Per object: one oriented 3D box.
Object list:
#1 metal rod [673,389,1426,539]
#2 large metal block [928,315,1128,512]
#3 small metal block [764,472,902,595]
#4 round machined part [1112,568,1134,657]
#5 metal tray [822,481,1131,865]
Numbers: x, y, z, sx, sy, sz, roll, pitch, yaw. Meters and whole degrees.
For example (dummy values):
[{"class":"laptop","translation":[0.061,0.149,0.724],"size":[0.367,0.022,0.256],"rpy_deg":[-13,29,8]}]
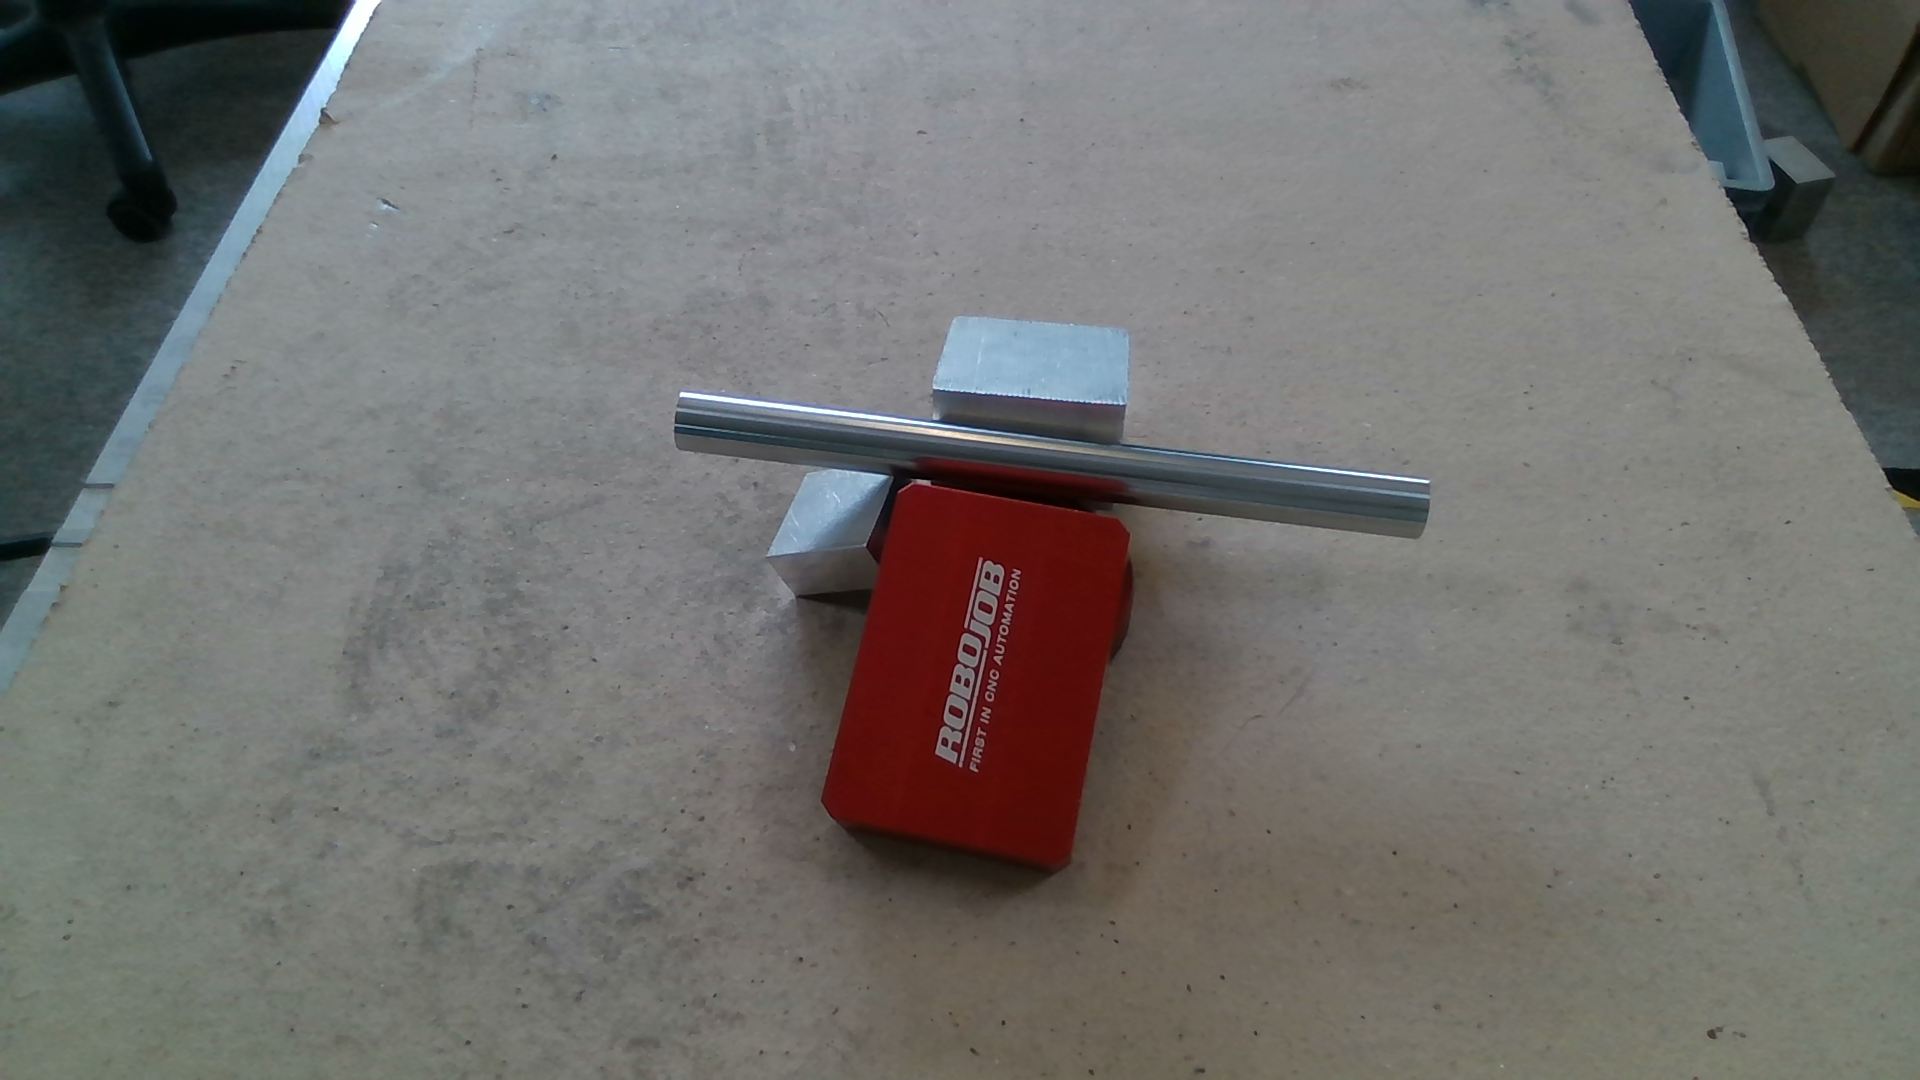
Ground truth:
[{"class":"metal rod","translation":[0.034,-0.031,0.559],"size":[0.300,0.025,0.025],"rpy_deg":[7,50,3]},{"class":"large metal block","translation":[0.031,-0.058,0.605],"size":[0.080,0.050,0.080],"rpy_deg":[5,32,4]},{"class":"small metal block","translation":[-0.048,-0.006,0.580],"size":[0.050,0.025,0.050],"rpy_deg":[-6,44,29]},{"class":"round machined part","translation":[0.022,0.014,0.565],"size":[0.098,0.042,0.098],"rpy_deg":[0,50,0]},{"class":"metal tray","translation":[0.009,0.049,0.514],"size":[0.090,0.030,0.130],"rpy_deg":[10,71,9]}]
